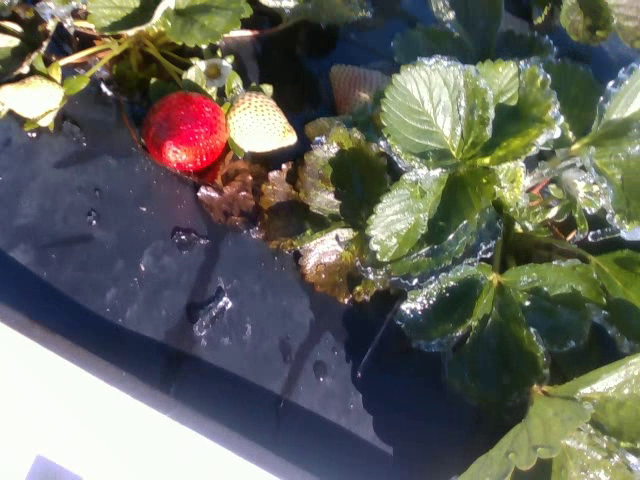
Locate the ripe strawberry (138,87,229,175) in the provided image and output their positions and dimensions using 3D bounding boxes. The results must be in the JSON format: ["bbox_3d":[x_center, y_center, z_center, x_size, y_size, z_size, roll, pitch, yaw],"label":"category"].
[{"bbox_3d":[-0.059,-0.044,0.306,0.040,0.042,0.053,-7,22,3],"label":"ripe strawberry"}]
